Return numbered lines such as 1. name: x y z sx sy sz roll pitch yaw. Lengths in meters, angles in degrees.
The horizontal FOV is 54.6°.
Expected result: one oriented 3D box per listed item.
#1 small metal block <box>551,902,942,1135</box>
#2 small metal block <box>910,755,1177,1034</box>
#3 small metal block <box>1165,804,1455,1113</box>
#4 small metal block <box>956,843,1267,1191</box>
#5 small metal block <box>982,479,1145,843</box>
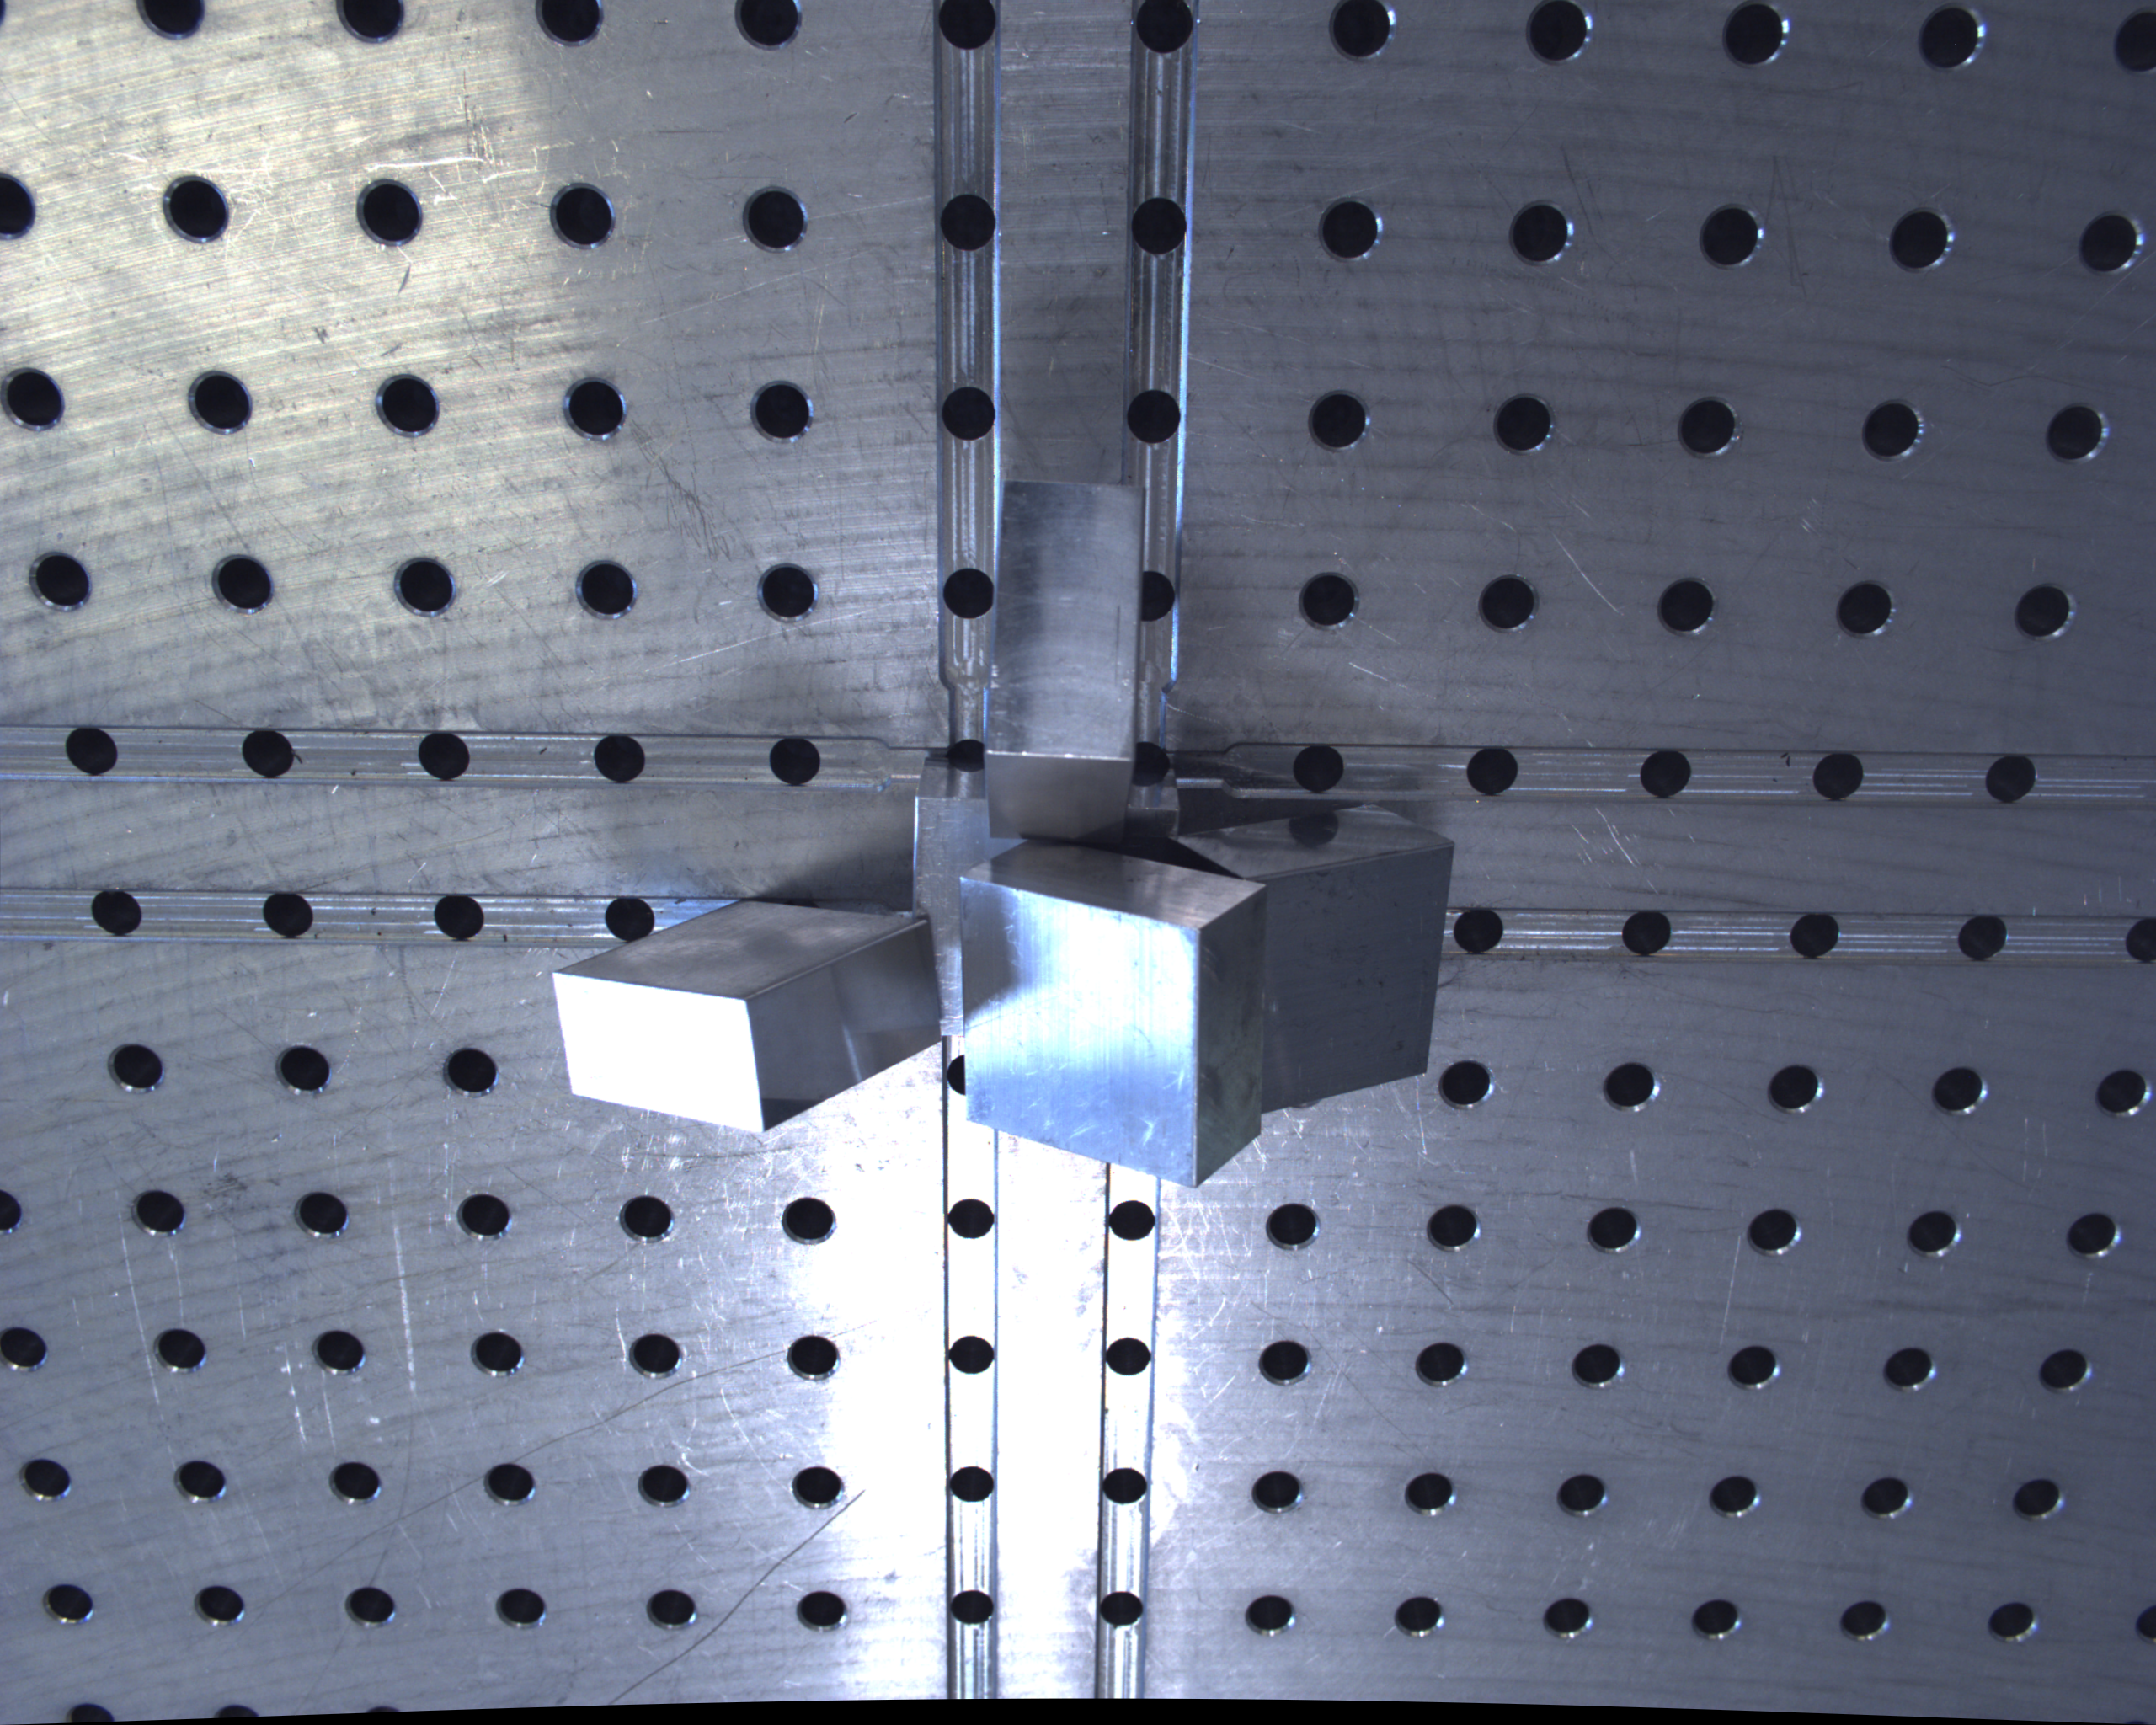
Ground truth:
1. small metal block: -0.063 0.028 0.399 0.050 0.050 0.025 5 108 35
2. small metal block: -0.007 0.007 0.416 0.050 0.025 0.050 2 110 -1
3. small metal block: 0.044 0.019 0.409 0.050 0.025 0.050 -9 113 -30
4. small metal block: 0.006 0.027 0.384 0.050 0.025 0.050 12 113 31
5. small metal block: -0.003 -0.035 0.376 0.025 0.050 0.050 3 74 0
